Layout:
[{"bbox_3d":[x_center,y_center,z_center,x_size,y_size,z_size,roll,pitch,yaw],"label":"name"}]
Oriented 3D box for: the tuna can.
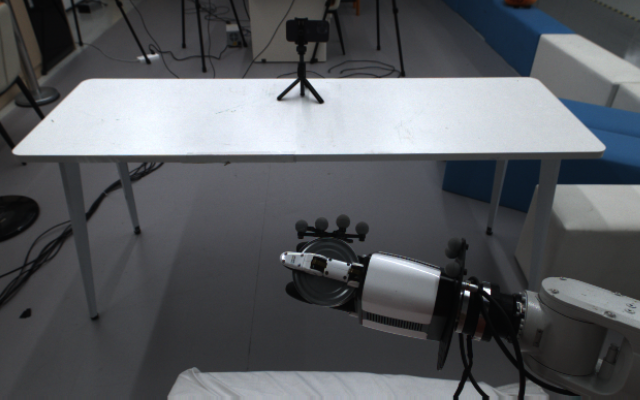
[{"bbox_3d":[0.013,0.096,0.608,0.085,0.034,0.085,-3,73,10],"label":"tuna can"}]
